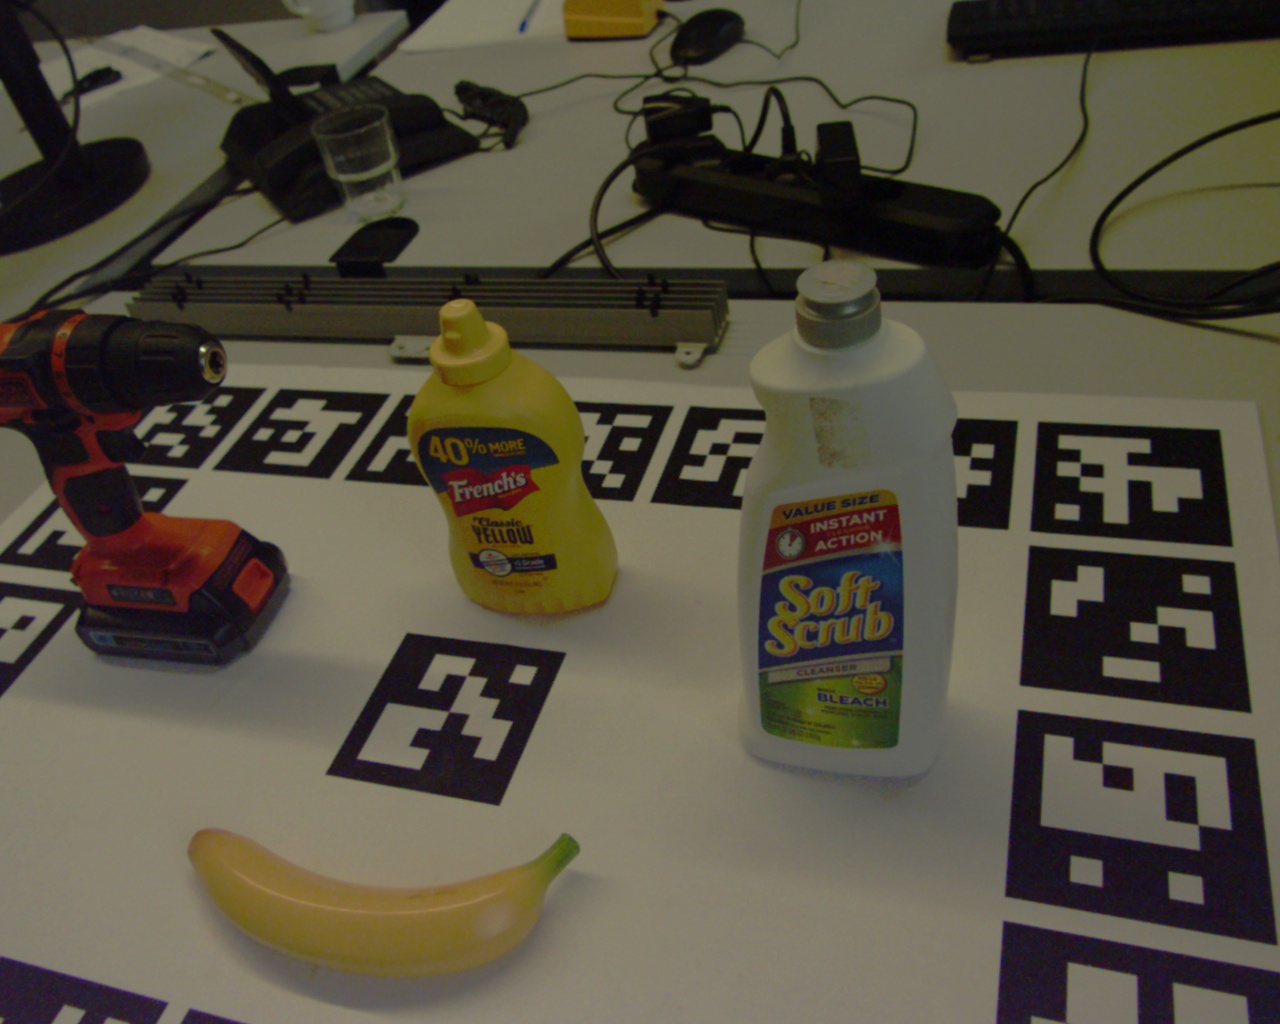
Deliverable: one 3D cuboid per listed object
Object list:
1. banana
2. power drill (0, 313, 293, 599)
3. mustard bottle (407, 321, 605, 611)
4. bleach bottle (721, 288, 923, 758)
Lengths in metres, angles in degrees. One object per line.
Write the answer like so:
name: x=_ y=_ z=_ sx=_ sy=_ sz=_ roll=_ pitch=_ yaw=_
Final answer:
banana: x=-0.133 y=0.168 z=0.554 sx=0.199 sy=0.038 sz=0.074 roll=-1 pitch=45 yaw=18
power drill: x=-0.278 y=-0.031 z=0.665 sx=0.186 sy=0.185 sz=0.057 roll=-2 pitch=43 yaw=18
mustard bottle: x=-0.081 y=-0.025 z=0.653 sx=0.097 sy=0.190 sz=0.058 roll=0 pitch=43 yaw=12
bleach bottle: x=0.078 y=0.010 z=0.525 sx=0.104 sy=0.249 sz=0.067 roll=12 pitch=47 yaw=24
